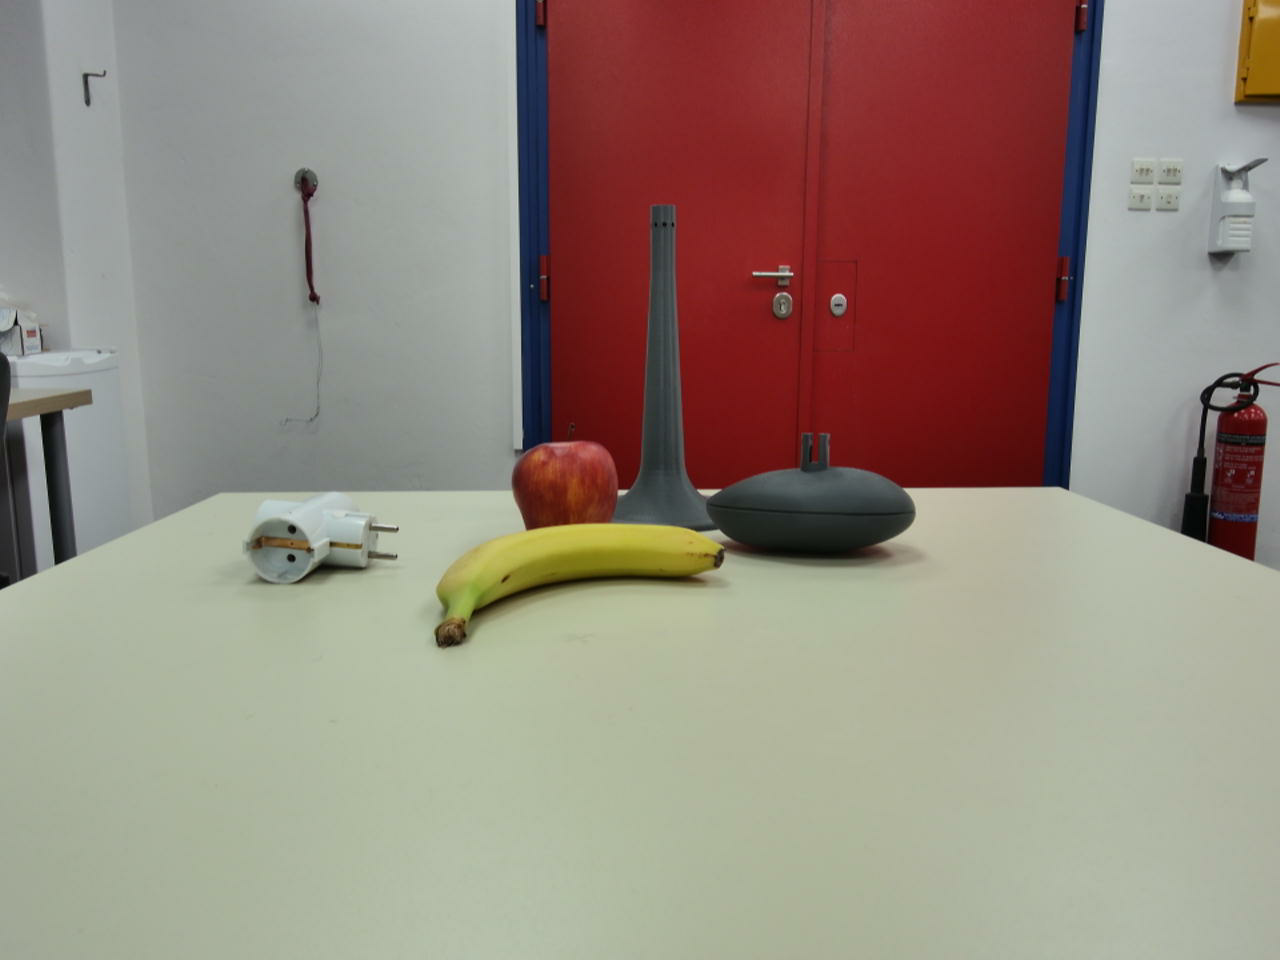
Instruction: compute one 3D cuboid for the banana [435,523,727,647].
[{"bbox_3d":[-0.049,0.053,0.596,0.196,0.041,0.094,-6,9,-36],"label":"banana"}]
